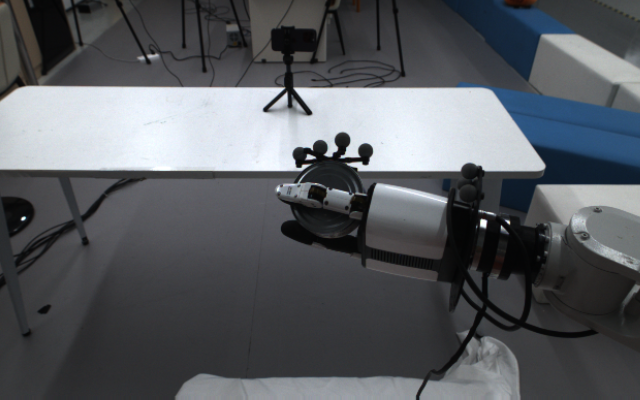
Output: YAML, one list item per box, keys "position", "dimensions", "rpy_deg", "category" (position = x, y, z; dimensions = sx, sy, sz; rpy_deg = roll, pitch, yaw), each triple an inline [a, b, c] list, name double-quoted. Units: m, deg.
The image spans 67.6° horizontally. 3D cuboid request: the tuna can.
- position: [0.011, -0.001, 0.553]
  dimensions: [0.085, 0.034, 0.085]
  rpy_deg: [-5, 70, 14]
  category: "tuna can"
